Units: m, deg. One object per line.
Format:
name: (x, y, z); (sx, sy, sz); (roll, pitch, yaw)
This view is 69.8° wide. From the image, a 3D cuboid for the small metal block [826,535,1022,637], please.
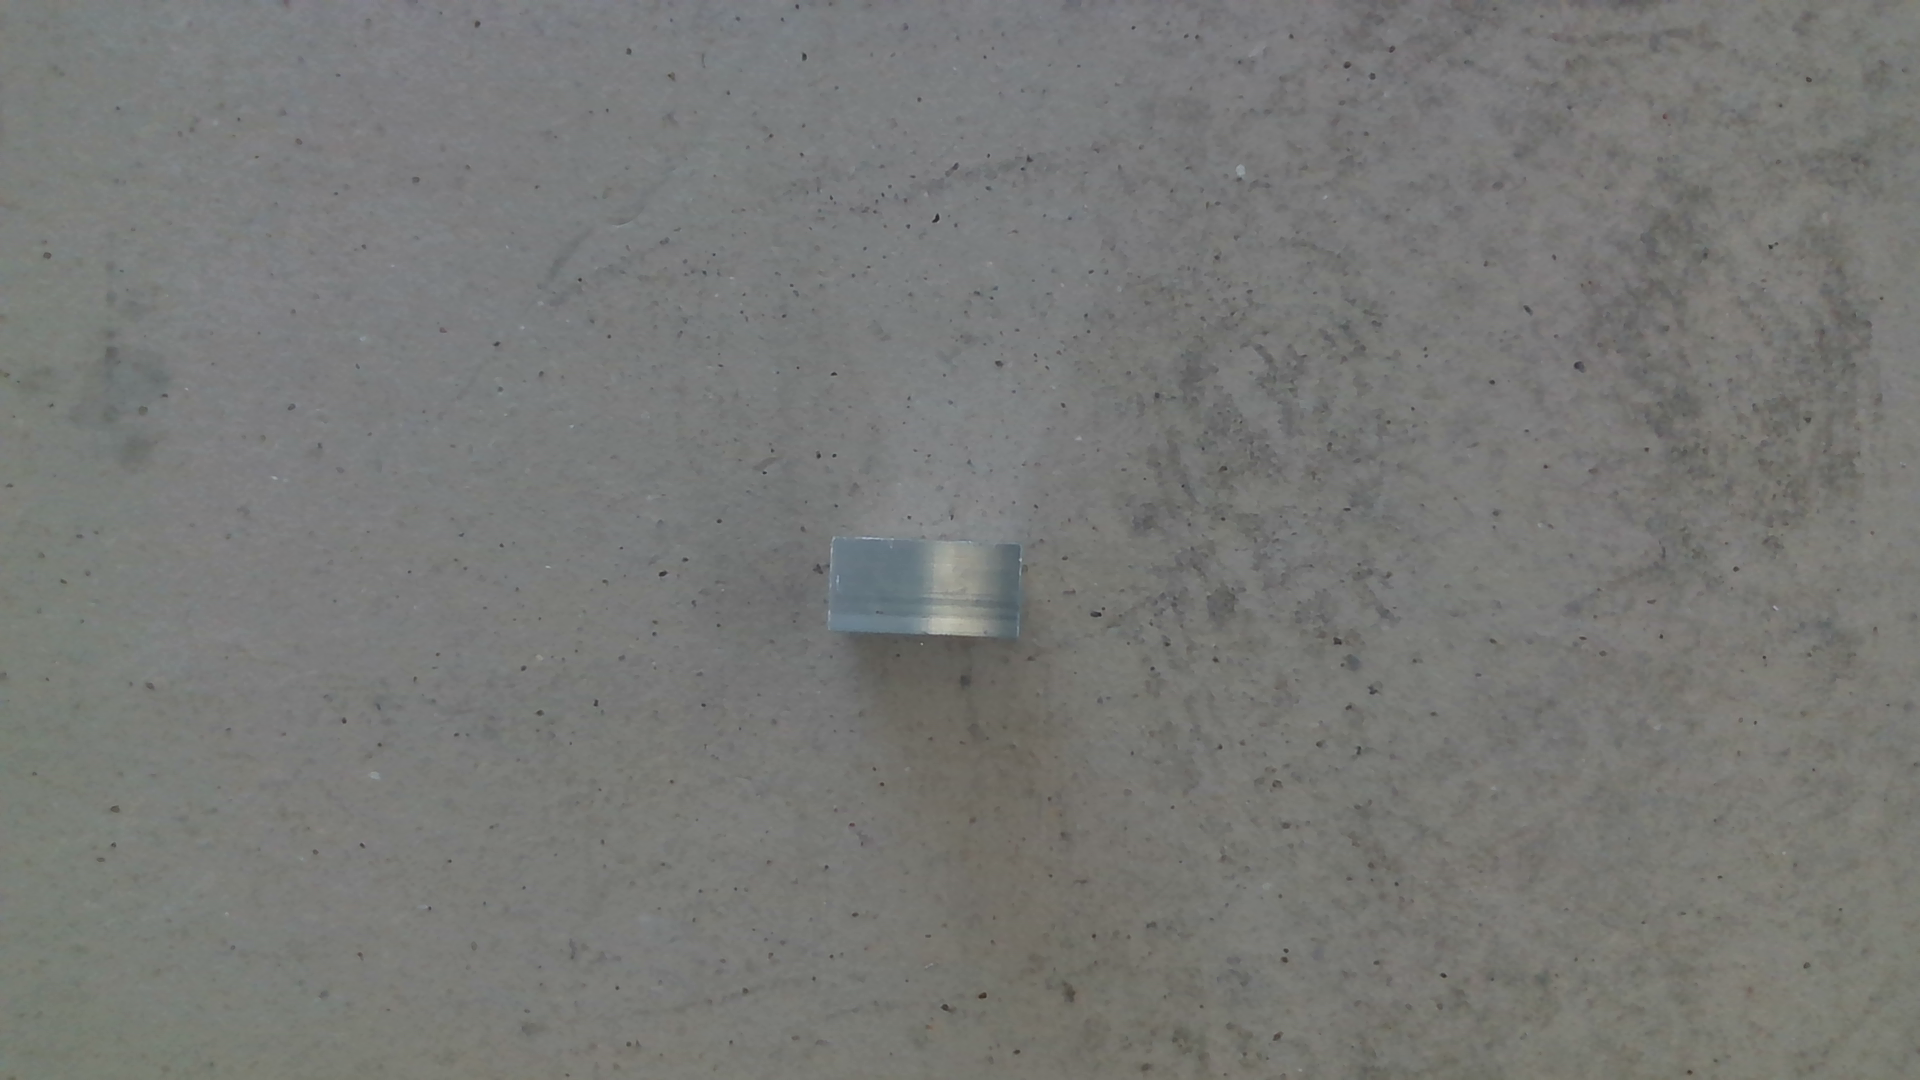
small metal block: (-0.009, 0.012, 0.383); (0.050, 0.050, 0.025); (2, 91, 0)
